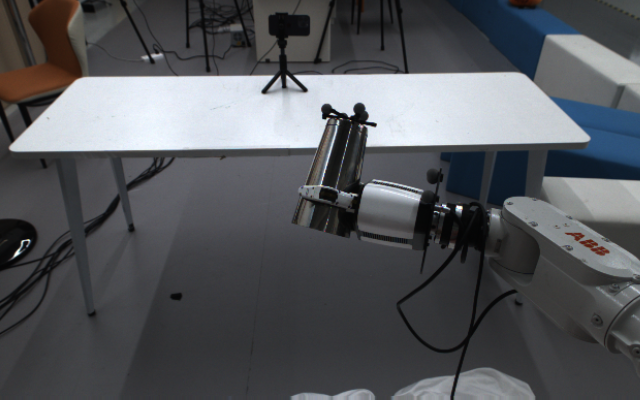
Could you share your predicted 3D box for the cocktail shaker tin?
[{"bbox_3d":[0.021,-0.035,0.746,0.093,0.170,0.093,15,-4,1],"label":"cocktail shaker tin"}]
